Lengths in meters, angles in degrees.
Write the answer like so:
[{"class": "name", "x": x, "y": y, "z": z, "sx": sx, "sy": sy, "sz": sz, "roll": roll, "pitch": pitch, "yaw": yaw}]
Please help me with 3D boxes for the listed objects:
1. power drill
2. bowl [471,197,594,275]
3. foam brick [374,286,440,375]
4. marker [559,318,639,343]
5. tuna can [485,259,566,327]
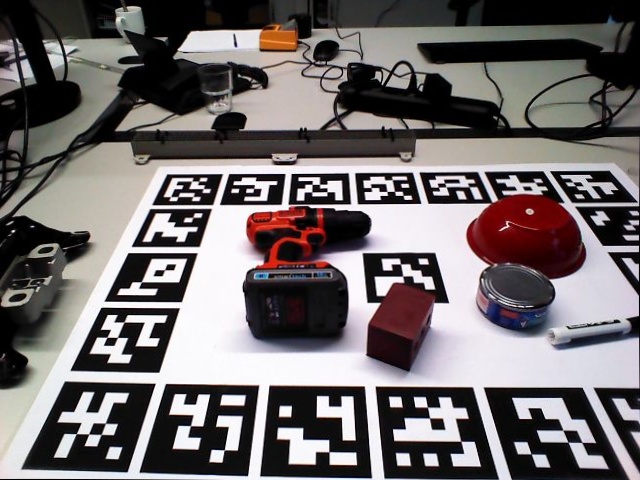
[{"class": "power drill", "x": -0.016, "y": 0.028, "z": 0.664, "sx": 0.185, "sy": 0.057, "sz": 0.186, "roll": 2, "pitch": 35, "yaw": -1}, {"class": "bowl", "x": 0.296, "y": -0.016, "z": 0.719, "sx": 0.162, "sy": 0.055, "sz": 0.161, "roll": -4, "pitch": 30, "yaw": 2}, {"class": "foam brick", "x": 0.098, "y": 0.099, "z": 0.574, "sx": 0.051, "sy": 0.053, "sz": 0.077, "roll": 16, "pitch": 42, "yaw": 20}, {"class": "marker", "x": 0.329, "y": 0.099, "z": 0.578, "sx": 0.121, "sy": 0.020, "sz": 0.019, "roll": -6, "pitch": 39, "yaw": -6}, {"class": "tuna can", "x": 0.244, "y": 0.063, "z": 0.618, "sx": 0.086, "sy": 0.034, "sz": 0.085, "roll": 1, "pitch": 37, "yaw": -1}]
